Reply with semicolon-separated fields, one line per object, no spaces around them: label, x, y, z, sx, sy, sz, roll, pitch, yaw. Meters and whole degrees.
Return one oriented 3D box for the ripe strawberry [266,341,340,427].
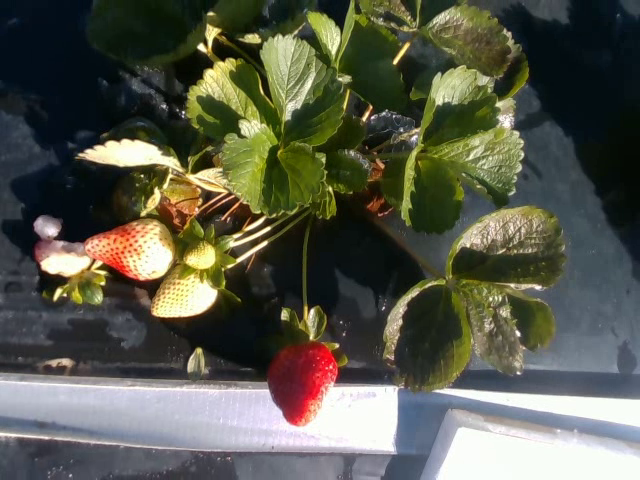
ripe strawberry;-0.009;0.066;0.262;0.036;0.038;0.046;13;32;-6
